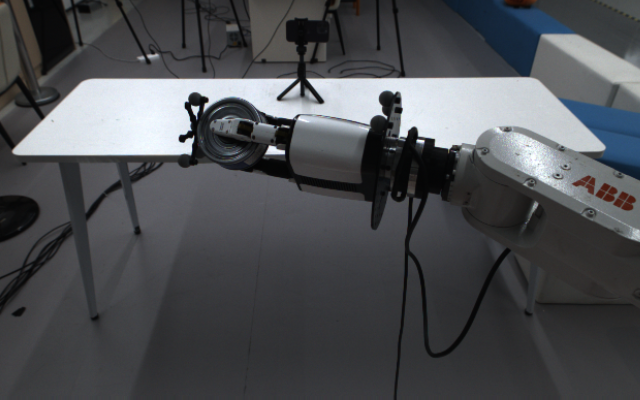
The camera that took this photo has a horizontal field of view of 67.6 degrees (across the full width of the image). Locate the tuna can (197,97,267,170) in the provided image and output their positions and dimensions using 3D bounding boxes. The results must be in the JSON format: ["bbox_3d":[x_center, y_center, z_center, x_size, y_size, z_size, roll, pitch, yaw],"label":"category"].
[{"bbox_3d":[-0.105,-0.083,0.598,0.085,0.085,0.034,10,-6,11],"label":"tuna can"}]
